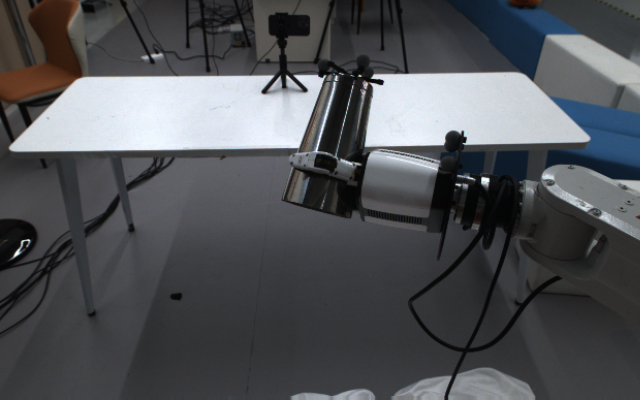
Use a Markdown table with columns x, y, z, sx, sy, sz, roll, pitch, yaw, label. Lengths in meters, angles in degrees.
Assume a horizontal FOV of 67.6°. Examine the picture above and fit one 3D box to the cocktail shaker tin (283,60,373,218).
| x | y | z | sx | sy | sz | roll | pitch | yaw | label |
| --- | --- | --- | --- | --- | --- | --- | --- | --- | --- |
| 0.016 | -0.071 | 0.622 | 0.093 | 0.170 | 0.093 | 15 | -4 | 1 | cocktail shaker tin |
